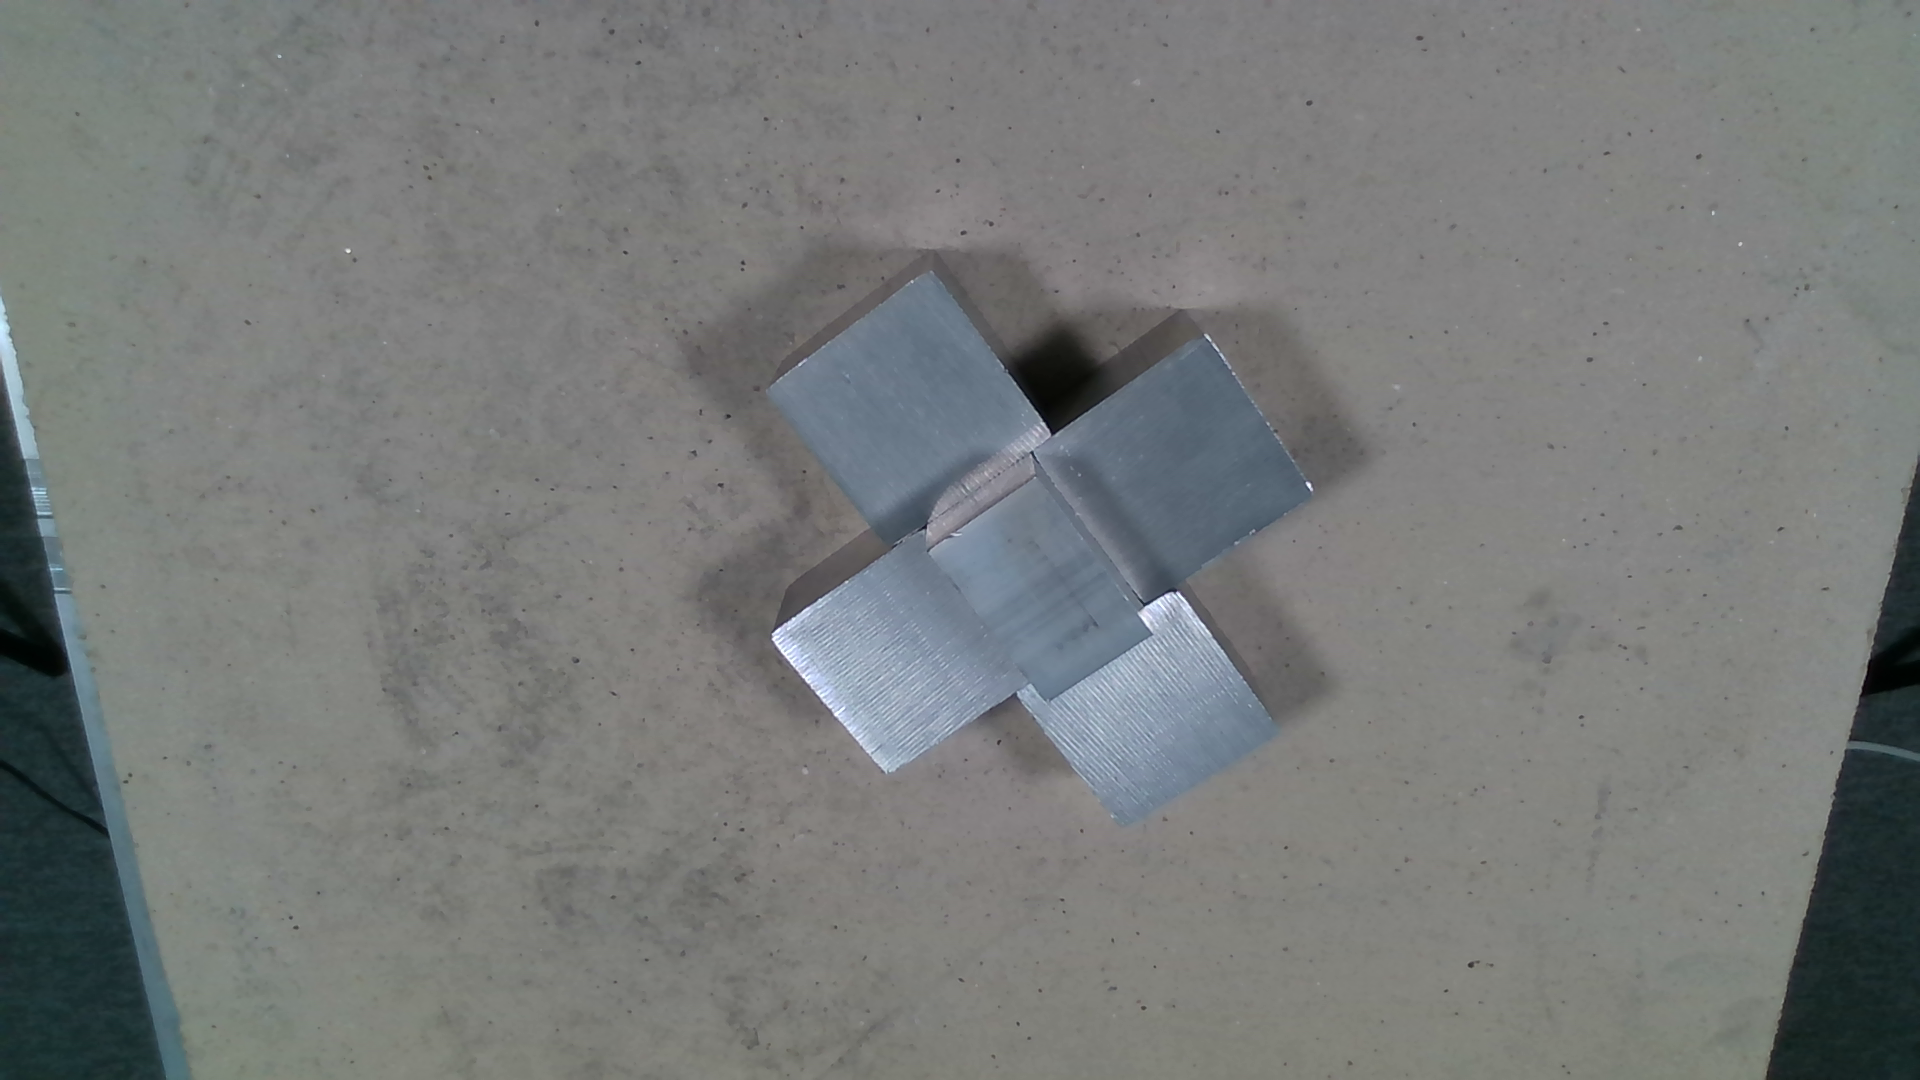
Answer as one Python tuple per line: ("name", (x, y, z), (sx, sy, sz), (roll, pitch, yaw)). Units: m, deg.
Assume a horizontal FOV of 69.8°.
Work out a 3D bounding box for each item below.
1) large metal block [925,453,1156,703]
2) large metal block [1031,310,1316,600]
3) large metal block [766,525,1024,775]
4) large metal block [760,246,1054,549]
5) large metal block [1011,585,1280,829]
("large metal block", (0.031, 0.006, 0.557), (0.050, 0.080, 0.080), (-35, 106, 12))
("large metal block", (0.083, -0.035, 0.558), (0.080, 0.050, 0.080), (-35, 106, 12))
("large metal block", (-0.023, 0.038, 0.585), (0.080, 0.050, 0.080), (-35, 106, 12))
("large metal block", (-0.020, -0.057, 0.549), (0.080, 0.050, 0.080), (-35, 106, 12))
("large metal block", (0.077, 0.063, 0.594), (0.080, 0.050, 0.080), (-35, 106, 12))
